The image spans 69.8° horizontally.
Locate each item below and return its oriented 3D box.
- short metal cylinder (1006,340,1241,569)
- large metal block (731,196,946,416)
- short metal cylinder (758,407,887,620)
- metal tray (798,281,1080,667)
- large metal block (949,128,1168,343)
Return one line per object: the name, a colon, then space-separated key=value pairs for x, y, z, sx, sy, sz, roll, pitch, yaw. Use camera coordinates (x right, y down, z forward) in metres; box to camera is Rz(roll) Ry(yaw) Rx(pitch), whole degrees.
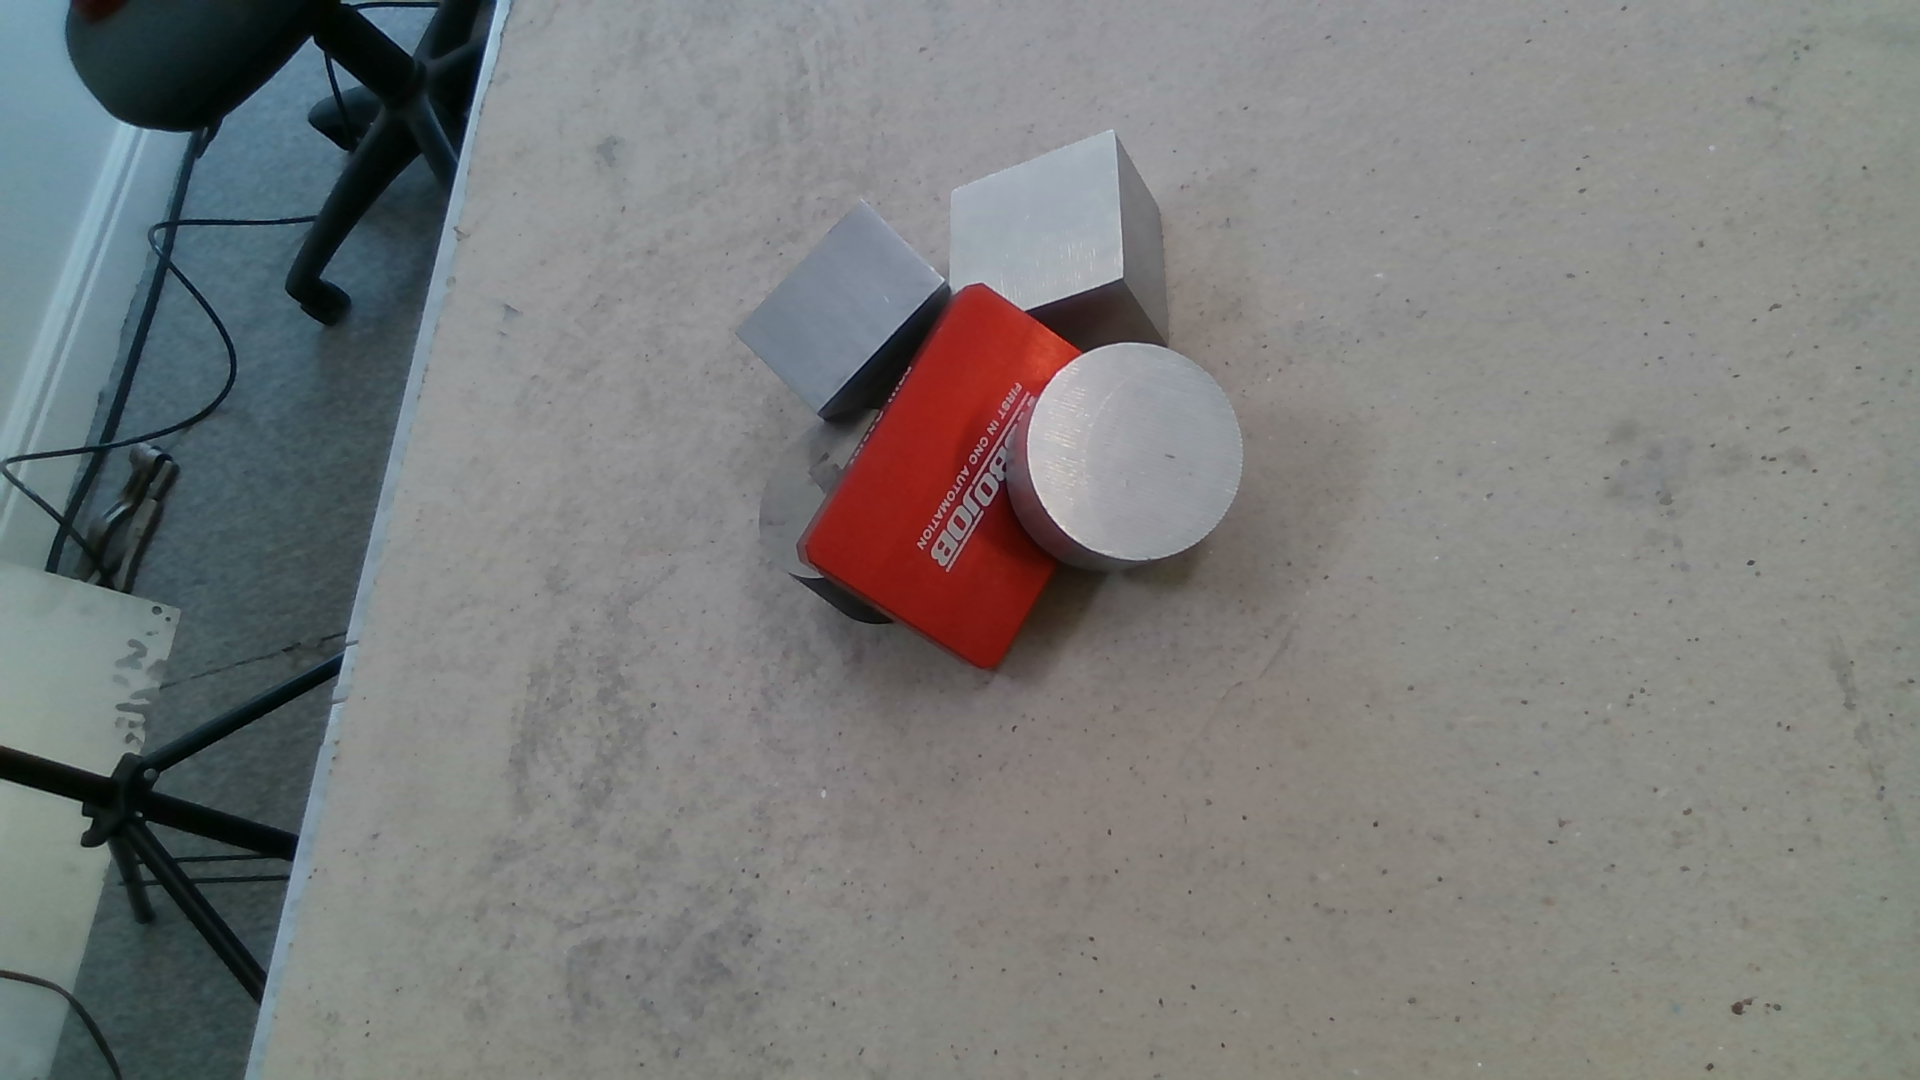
short metal cylinder: x=0.060 y=-0.031 z=0.524 sx=0.080 sy=0.050 sz=0.080 roll=1 pitch=84 yaw=-6
large metal block: x=-0.049 y=-0.099 z=0.624 sx=0.050 sy=0.080 sz=0.080 roll=45 pitch=93 yaw=3
short metal cylinder: x=-0.041 y=-0.011 z=0.602 sx=0.080 sy=0.050 sz=0.080 roll=-14 pitch=59 yaw=25
metal tray: x=0.005 y=-0.026 z=0.557 sx=0.130 sy=0.090 sz=0.030 roll=-59 pitch=12 yaw=-8
large metal block: x=0.042 y=-0.122 z=0.606 sx=0.080 sy=0.050 sz=0.080 roll=-14 pitch=59 yaw=25
